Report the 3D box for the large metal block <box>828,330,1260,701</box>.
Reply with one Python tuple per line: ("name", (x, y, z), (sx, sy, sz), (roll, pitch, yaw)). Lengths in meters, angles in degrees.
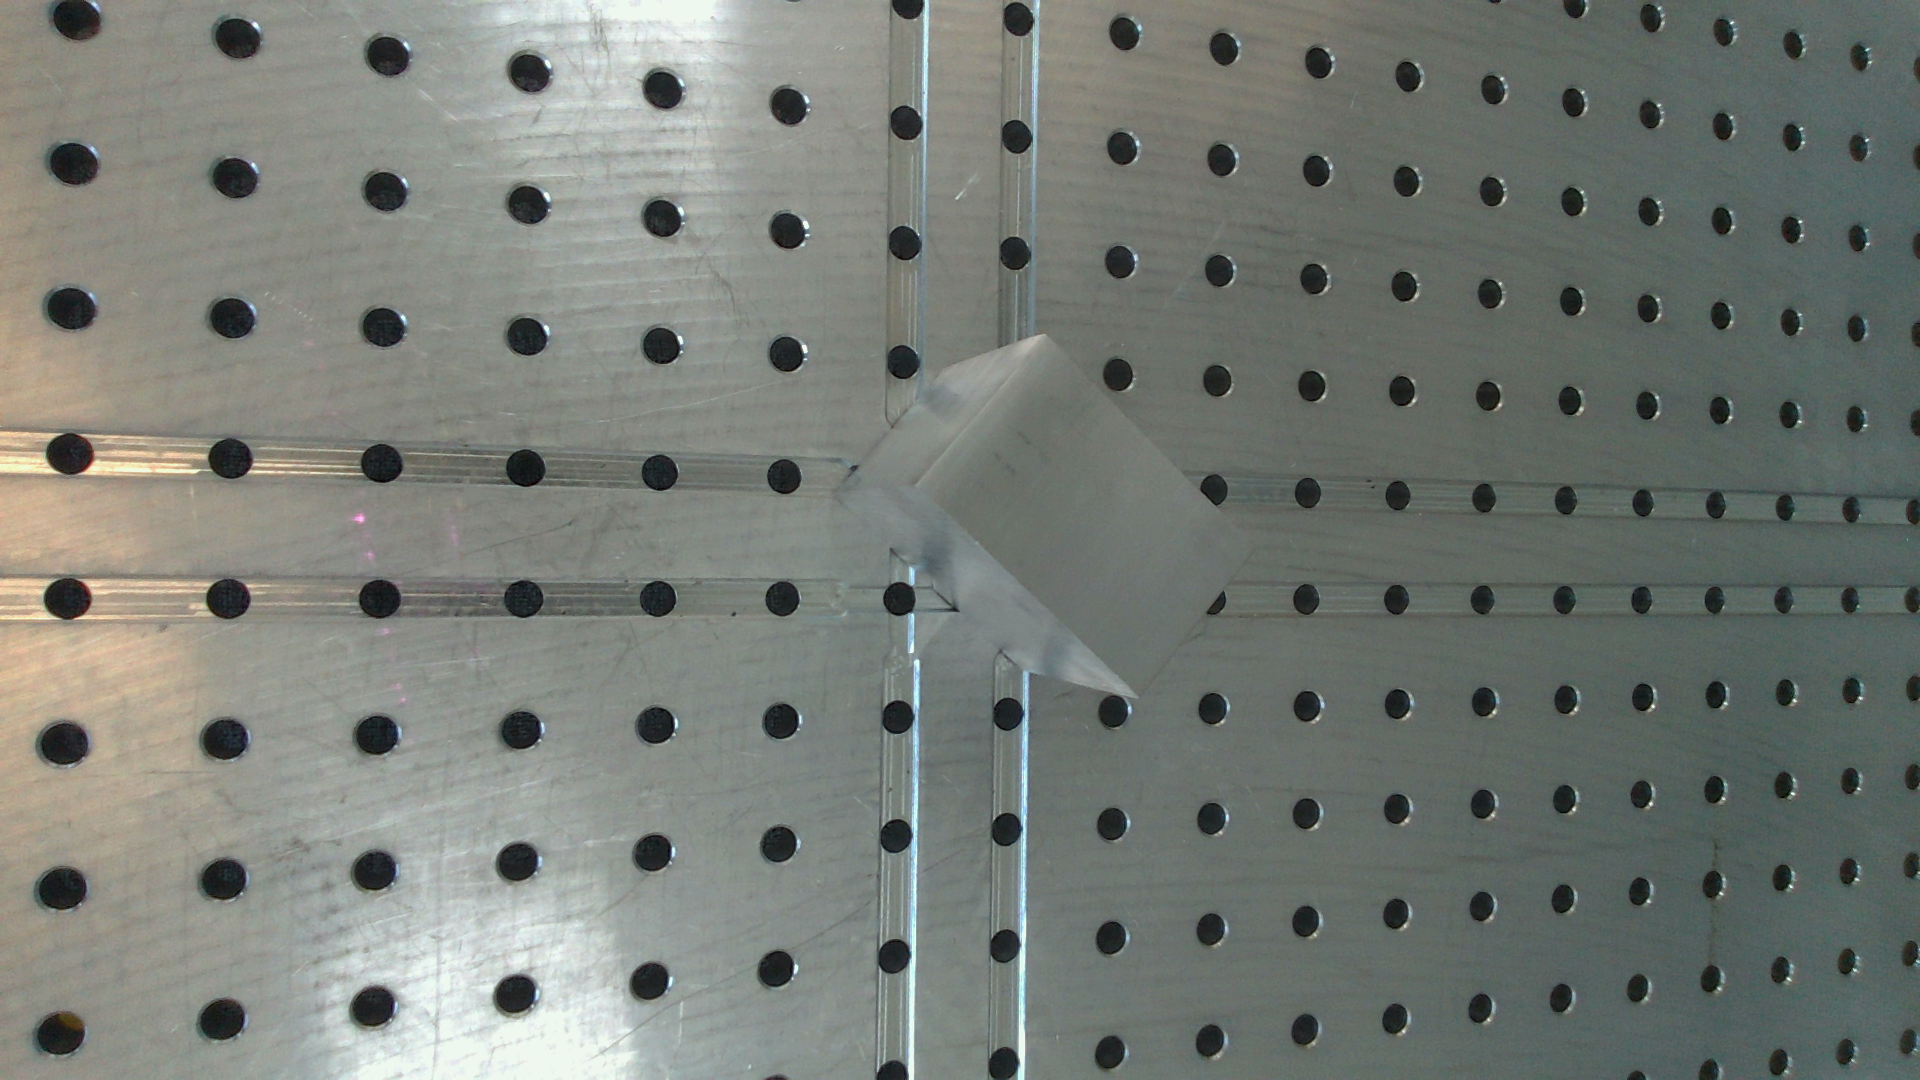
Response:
("large metal block", (0.019, -0.006, 0.373), (0.080, 0.080, 0.050), (43, 77, -15))
